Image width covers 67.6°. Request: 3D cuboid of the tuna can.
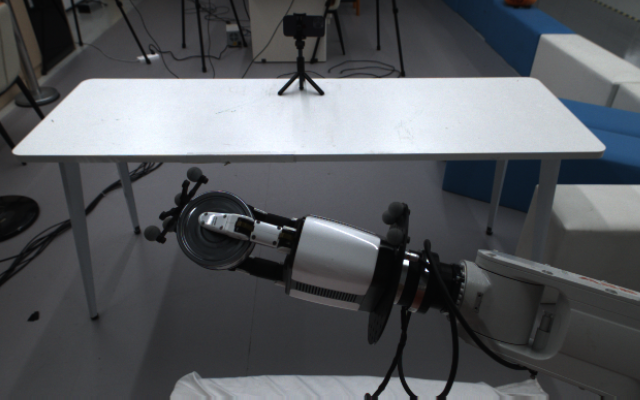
[{"bbox_3d":[-0.109,0.038,0.533,0.085,0.034,0.085,1,76,-5],"label":"tuna can"}]
